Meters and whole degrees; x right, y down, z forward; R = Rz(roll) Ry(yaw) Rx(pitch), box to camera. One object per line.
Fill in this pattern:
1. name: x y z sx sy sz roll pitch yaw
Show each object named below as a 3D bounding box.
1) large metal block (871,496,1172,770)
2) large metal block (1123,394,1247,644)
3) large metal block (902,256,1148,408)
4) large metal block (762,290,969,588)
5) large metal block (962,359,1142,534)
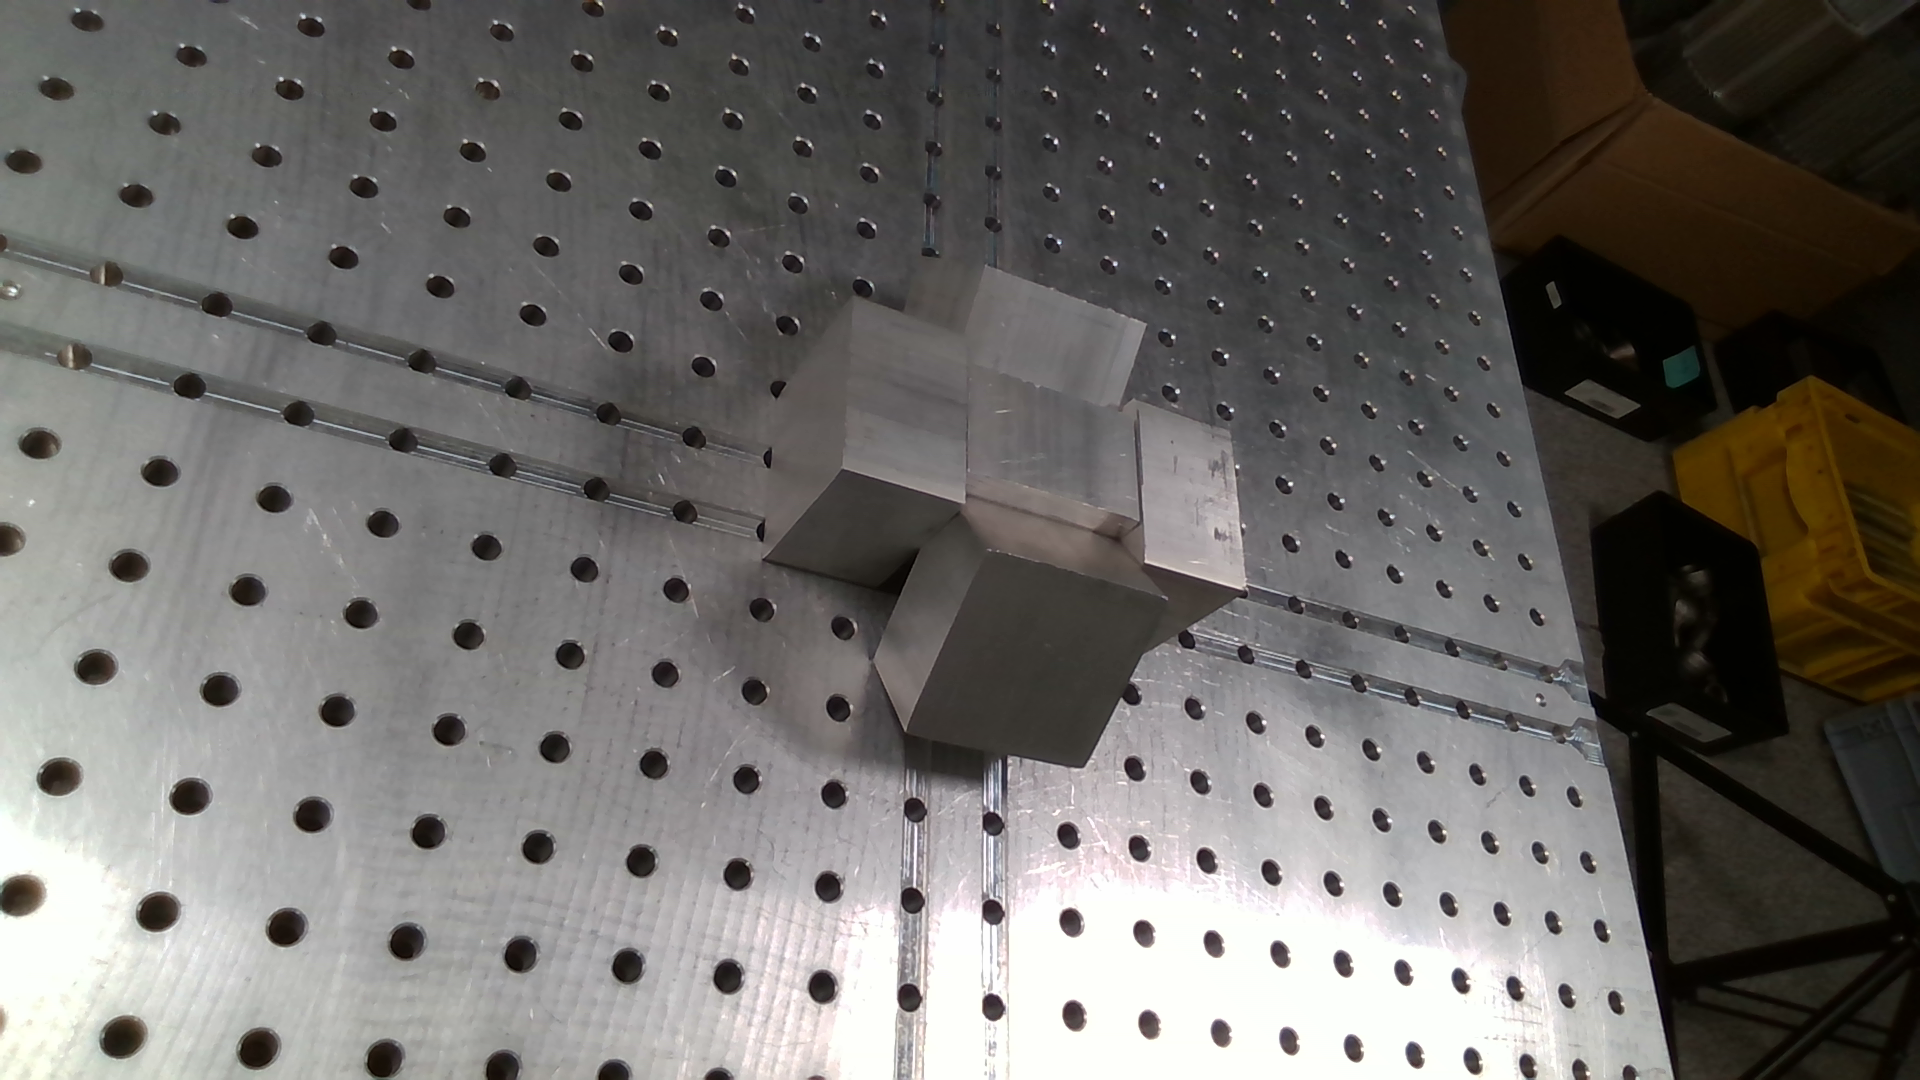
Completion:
1. large metal block: 0.022 0.036 0.537 0.080 0.080 0.050 16 20 -25
2. large metal block: 0.077 -0.004 0.601 0.050 0.080 0.080 15 58 -24
3. large metal block: 0.022 -0.087 0.606 0.080 0.080 0.050 15 98 -24
4. large metal block: -0.038 -0.038 0.549 0.050 0.080 0.080 15 58 -24
5. large metal block: 0.019 -0.023 0.576 0.080 0.080 0.050 15 58 -24
